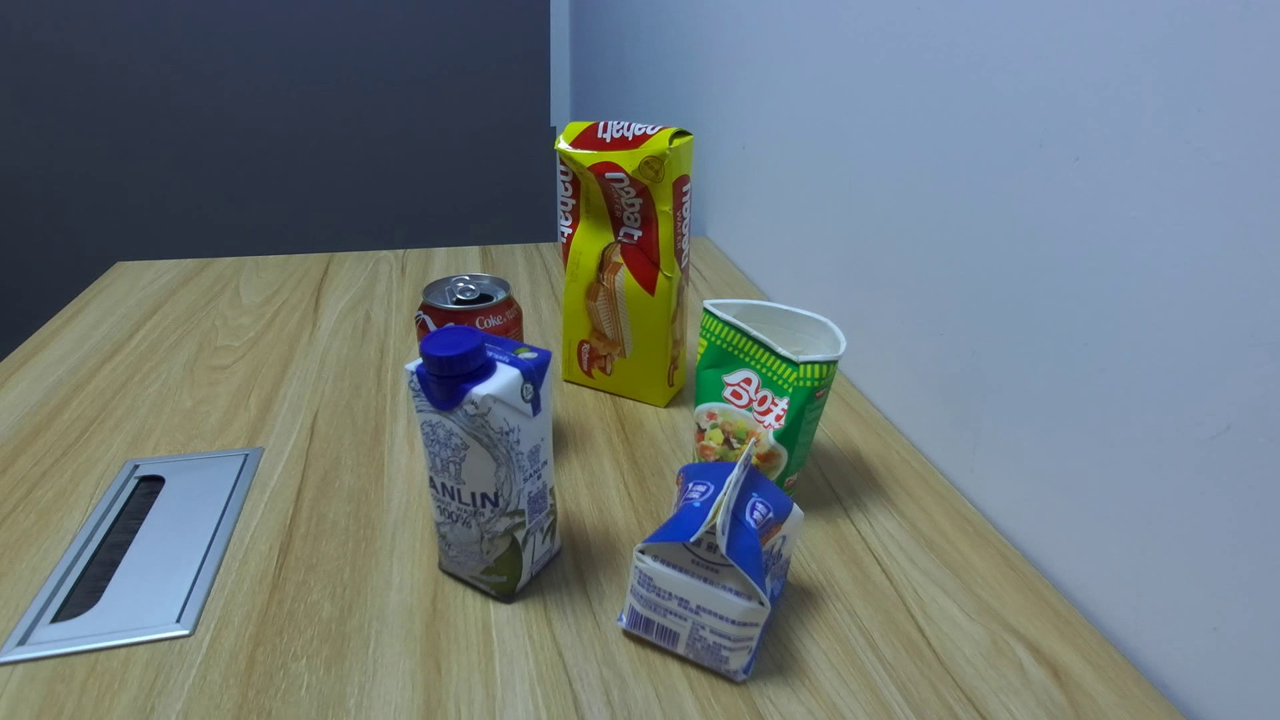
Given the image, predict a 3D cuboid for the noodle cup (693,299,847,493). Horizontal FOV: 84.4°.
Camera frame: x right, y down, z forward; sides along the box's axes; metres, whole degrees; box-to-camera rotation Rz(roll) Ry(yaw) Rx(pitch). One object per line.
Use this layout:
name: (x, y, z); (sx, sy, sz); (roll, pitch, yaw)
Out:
noodle cup: (0.074, 0.029, 0.438); (0.075, 0.122, 0.082); (5, 19, -11)

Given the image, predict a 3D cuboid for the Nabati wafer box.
Nabati wafer box: (-0.015, -0.070, 0.521); (0.106, 0.204, 0.042); (14, 31, 22)

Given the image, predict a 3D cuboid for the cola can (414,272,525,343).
cola can: (-0.108, 0.005, 0.466); (0.068, 0.120, 0.068); (1, 29, 0)

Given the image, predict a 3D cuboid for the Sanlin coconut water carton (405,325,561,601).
Sanlin coconut water carton: (-0.077, 0.048, 0.362); (0.060, 0.144, 0.061); (15, 30, 26)

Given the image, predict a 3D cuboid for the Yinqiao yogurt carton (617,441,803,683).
Yinqiao yogurt carton: (0.037, 0.089, 0.344); (0.071, 0.094, 0.077); (17, 33, 18)
